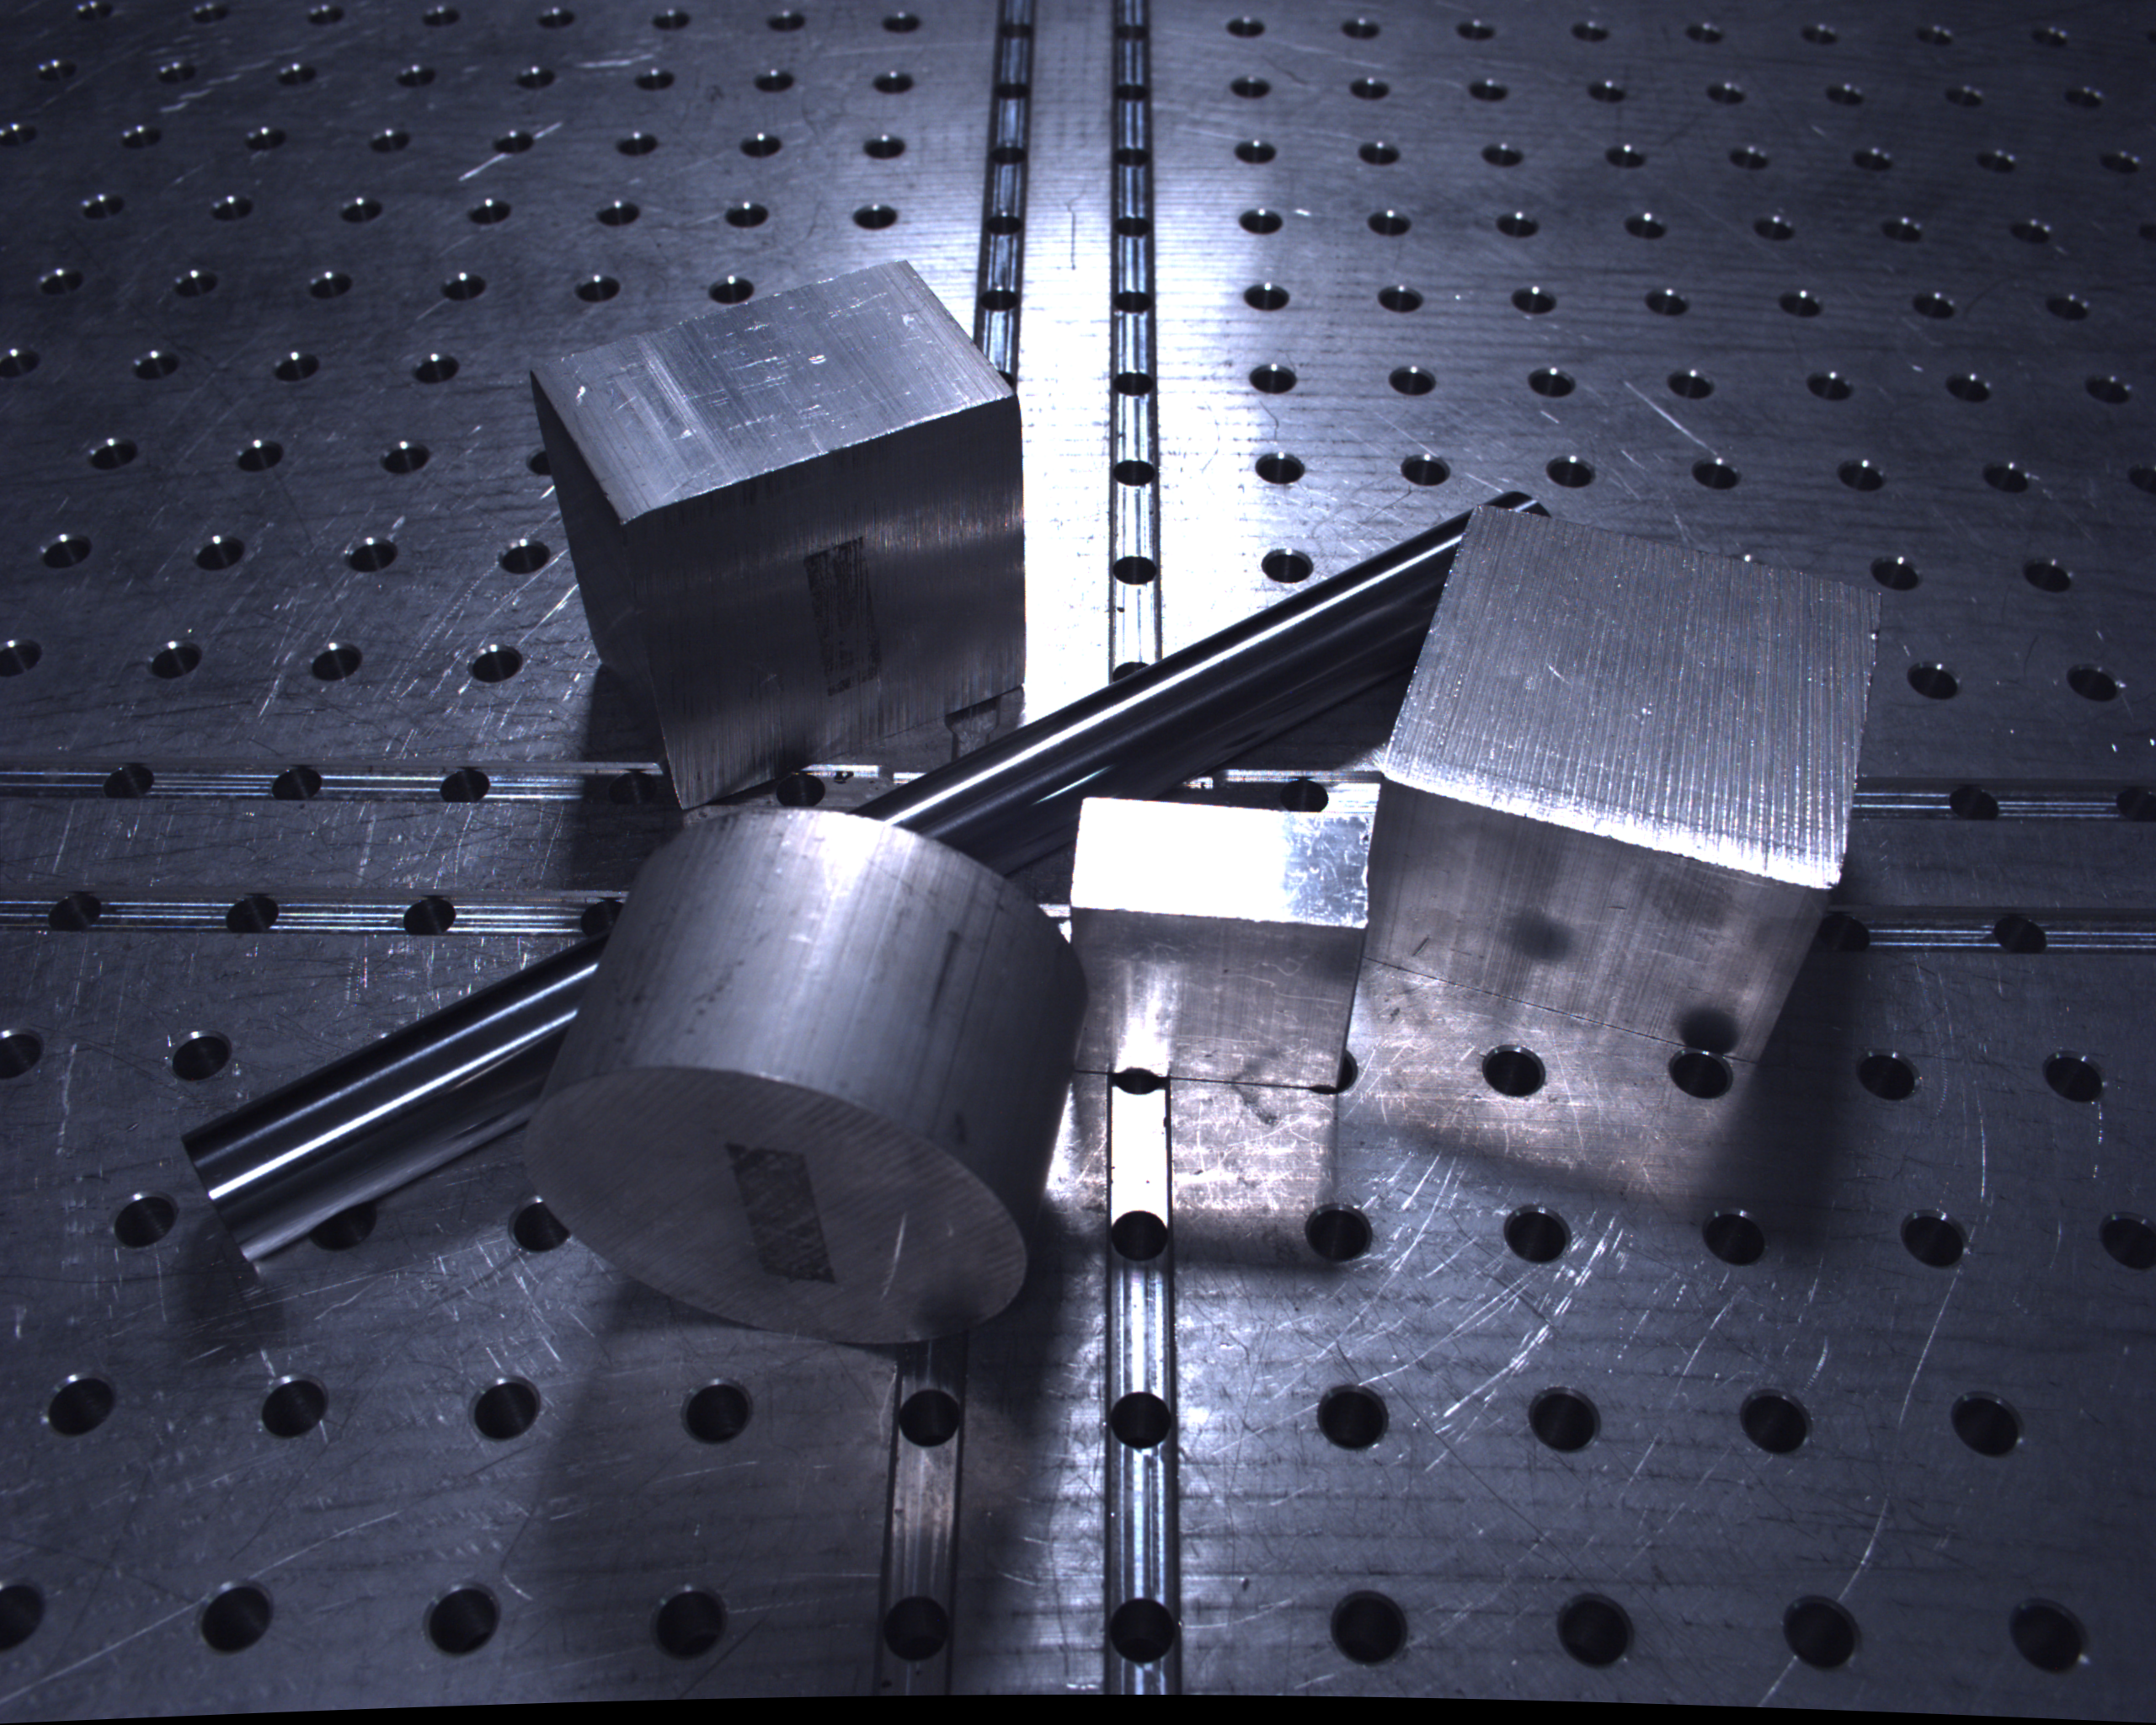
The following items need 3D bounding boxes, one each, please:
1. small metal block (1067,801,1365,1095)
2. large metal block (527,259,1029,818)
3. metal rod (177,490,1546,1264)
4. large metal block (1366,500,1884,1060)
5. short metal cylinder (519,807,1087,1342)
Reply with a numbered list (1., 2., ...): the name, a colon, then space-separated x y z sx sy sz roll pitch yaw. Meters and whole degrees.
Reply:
1. small metal block: 0.024 0.016 0.378 0.050 0.050 0.025 4 50 3
2. large metal block: -0.058 -0.066 0.428 0.081 0.080 0.050 -23 54 -18
3. metal rod: -0.024 -0.007 0.413 0.302 0.025 0.025 -28 56 -22
4. large metal block: 0.104 -0.018 0.404 0.080 0.050 0.080 15 52 12
5. short metal cylinder: -0.043 0.036 0.340 0.080 0.080 0.050 9 51 7
